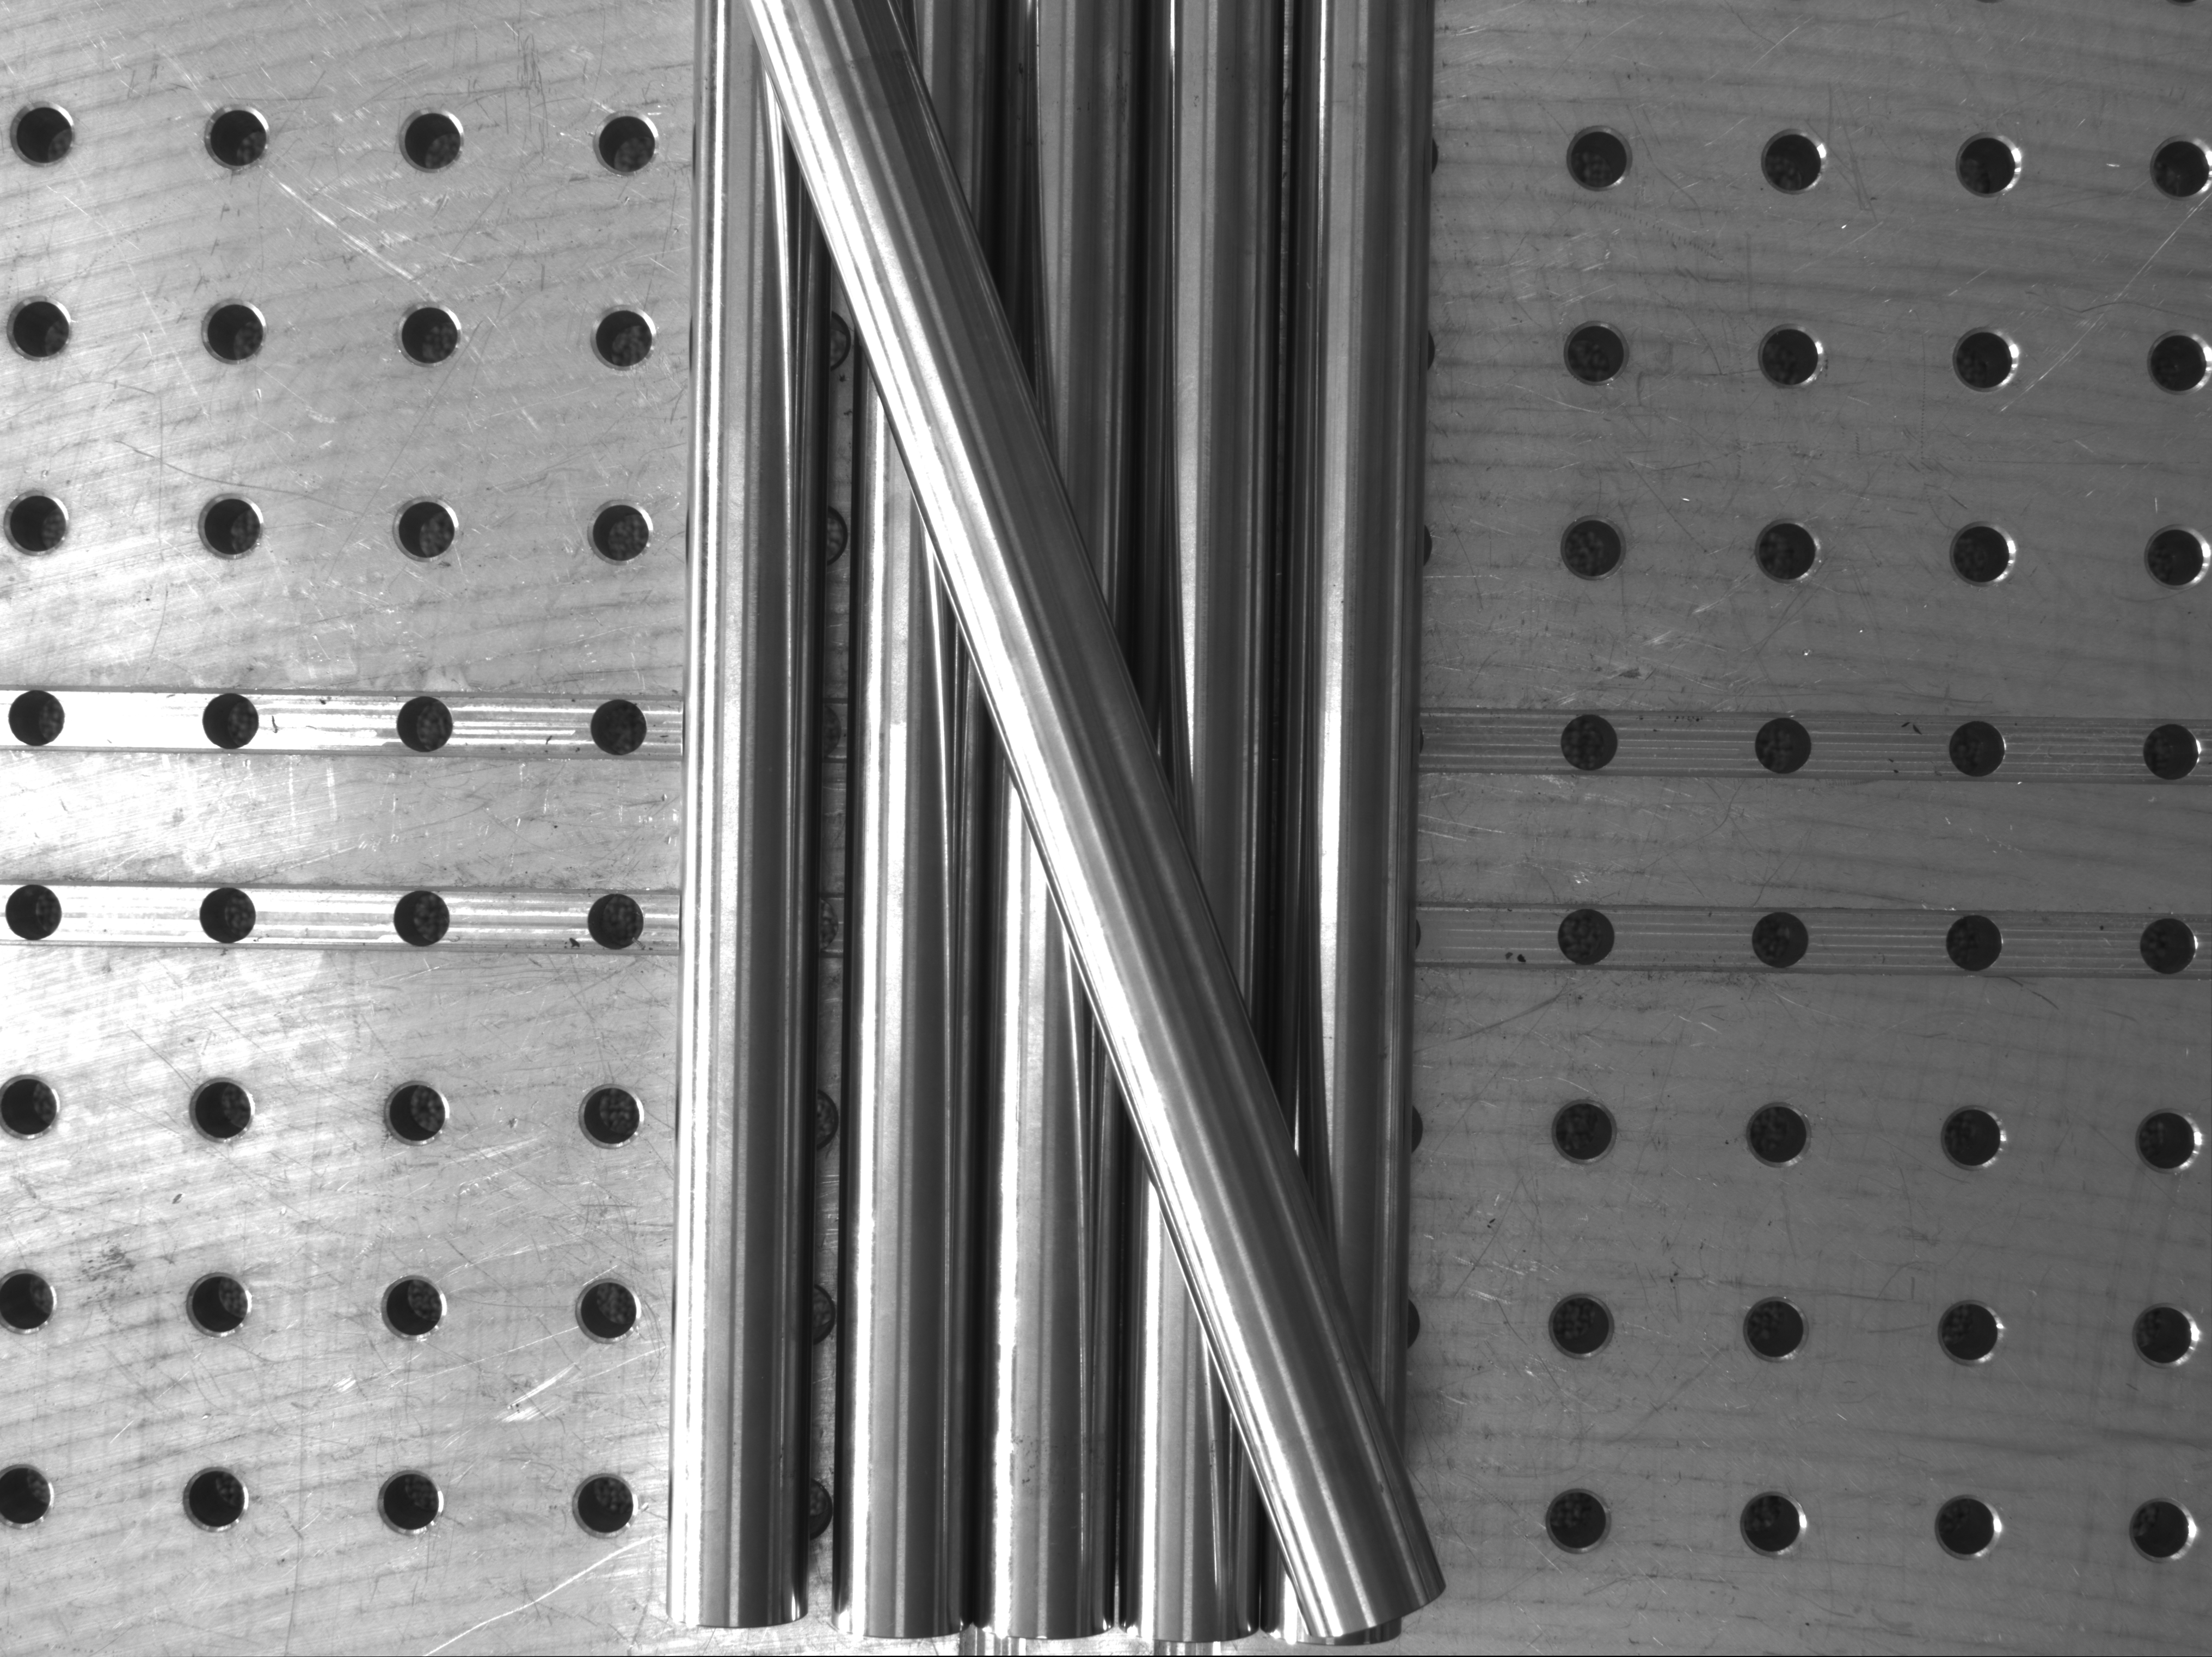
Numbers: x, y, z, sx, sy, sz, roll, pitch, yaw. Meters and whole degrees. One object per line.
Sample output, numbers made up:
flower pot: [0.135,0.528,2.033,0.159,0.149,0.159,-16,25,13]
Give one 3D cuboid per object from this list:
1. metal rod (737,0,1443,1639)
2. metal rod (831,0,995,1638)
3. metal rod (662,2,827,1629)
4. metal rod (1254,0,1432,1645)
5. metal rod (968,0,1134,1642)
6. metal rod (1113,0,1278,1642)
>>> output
metal rod: [-0.004,-0.009,0.623,0.025,0.025,0.300,-19,90,0]
metal rod: [-0.034,-0.010,0.647,0.025,0.025,0.300,1,90,0]
metal rod: [-0.063,-0.012,0.647,0.025,0.025,0.300,1,90,0]
metal rod: [0.042,-0.008,0.649,0.025,0.025,0.300,1,90,0]
metal rod: [-0.010,-0.009,0.647,0.025,0.025,0.300,1,90,0]
metal rod: [0.016,-0.009,0.649,0.025,0.025,0.300,1,90,0]
